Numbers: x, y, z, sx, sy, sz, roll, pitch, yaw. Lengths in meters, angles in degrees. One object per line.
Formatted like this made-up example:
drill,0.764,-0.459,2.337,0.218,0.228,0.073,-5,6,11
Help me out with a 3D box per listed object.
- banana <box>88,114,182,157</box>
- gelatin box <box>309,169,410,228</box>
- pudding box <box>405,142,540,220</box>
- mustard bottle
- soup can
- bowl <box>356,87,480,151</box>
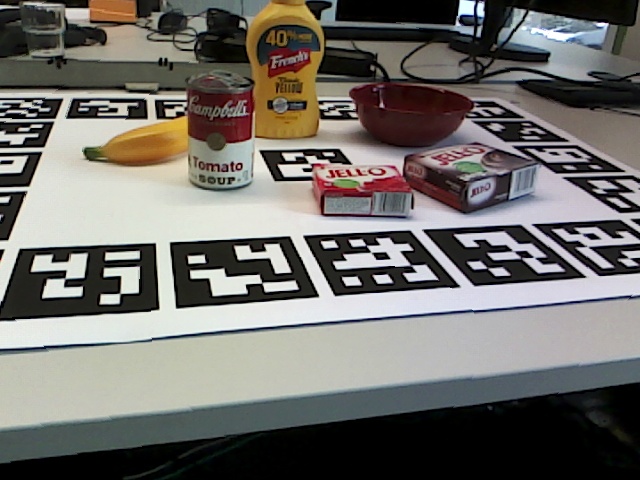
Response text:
banana,-0.176,-0.131,0.734,0.075,0.039,0.196,8,26,28
gelatin box,0.036,-0.043,0.610,0.089,0.030,0.073,1,31,-7
pudding box,0.162,-0.065,0.663,0.113,0.038,0.090,-16,40,-34
mustard bottle,-0.036,-0.233,0.762,0.096,0.191,0.059,-2,26,-14
soup can,-0.107,-0.116,0.628,0.068,0.102,0.068,5,26,-3
bowl,0.126,-0.159,0.824,0.161,0.055,0.162,2,27,-2
